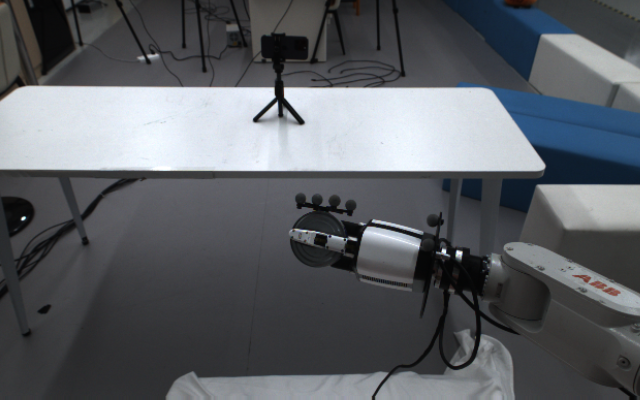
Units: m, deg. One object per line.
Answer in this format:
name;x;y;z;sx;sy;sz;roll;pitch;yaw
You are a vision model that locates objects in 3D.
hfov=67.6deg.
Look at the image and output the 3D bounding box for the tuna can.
tuna can;0.000;0.059;0.738;0.085;0.085;0.034;11;-7;13
